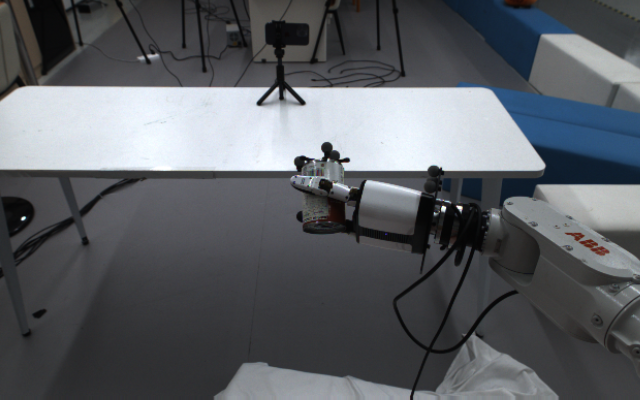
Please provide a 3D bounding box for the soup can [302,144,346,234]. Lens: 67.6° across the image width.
[{"bbox_3d":[0.007,-0.004,0.743,0.067,0.067,0.101,-1,71,-5],"label":"soup can"}]
